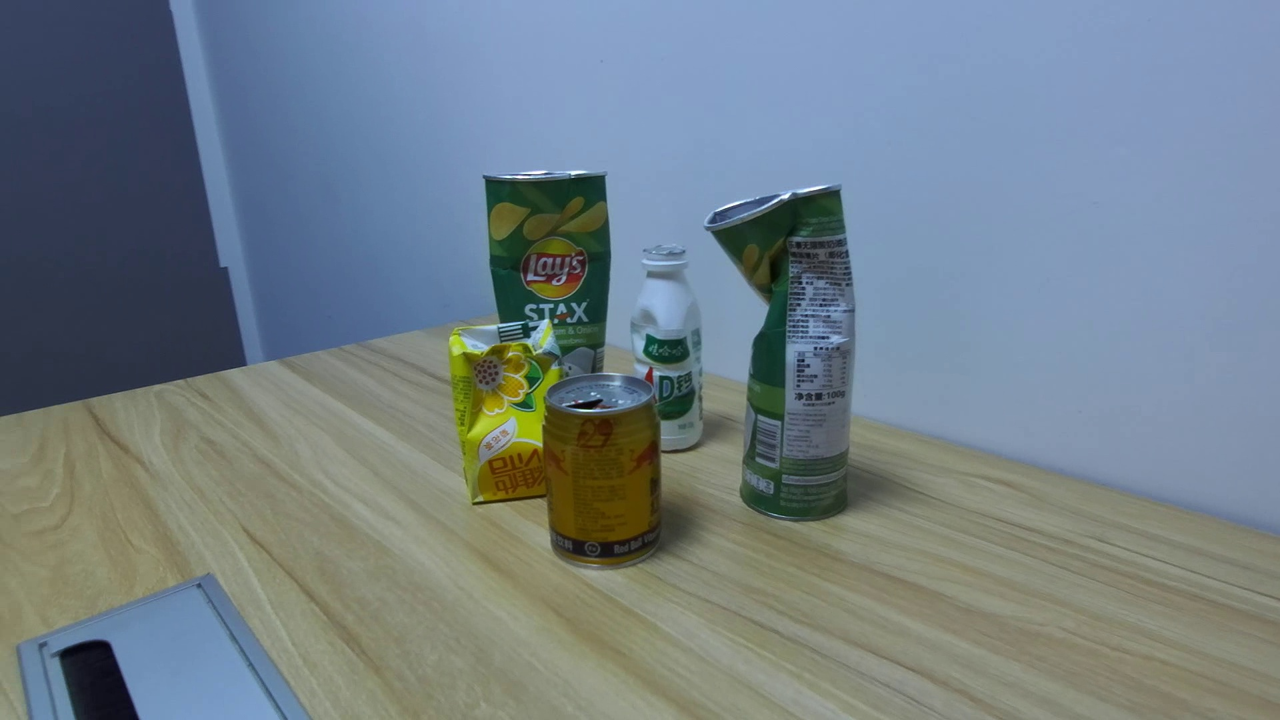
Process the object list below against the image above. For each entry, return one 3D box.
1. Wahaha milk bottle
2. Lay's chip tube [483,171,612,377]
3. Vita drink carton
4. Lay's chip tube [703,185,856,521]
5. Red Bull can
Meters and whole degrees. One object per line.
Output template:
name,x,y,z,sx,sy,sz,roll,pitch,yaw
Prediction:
Wahaha milk bottle,0.019,-0.008,0.520,0.055,0.149,0.055,-2,19,1
Lay's chip tube,-0.069,-0.045,0.562,0.068,0.199,0.075,14,22,43
Vita drink carton,-0.085,0.034,0.466,0.071,0.109,0.046,-5,17,-12
Lay's chip tube,0.086,-0.003,0.428,0.071,0.199,0.079,-11,18,-6
Red Bull can,-0.021,0.061,0.401,0.067,0.093,0.067,-1,18,1
